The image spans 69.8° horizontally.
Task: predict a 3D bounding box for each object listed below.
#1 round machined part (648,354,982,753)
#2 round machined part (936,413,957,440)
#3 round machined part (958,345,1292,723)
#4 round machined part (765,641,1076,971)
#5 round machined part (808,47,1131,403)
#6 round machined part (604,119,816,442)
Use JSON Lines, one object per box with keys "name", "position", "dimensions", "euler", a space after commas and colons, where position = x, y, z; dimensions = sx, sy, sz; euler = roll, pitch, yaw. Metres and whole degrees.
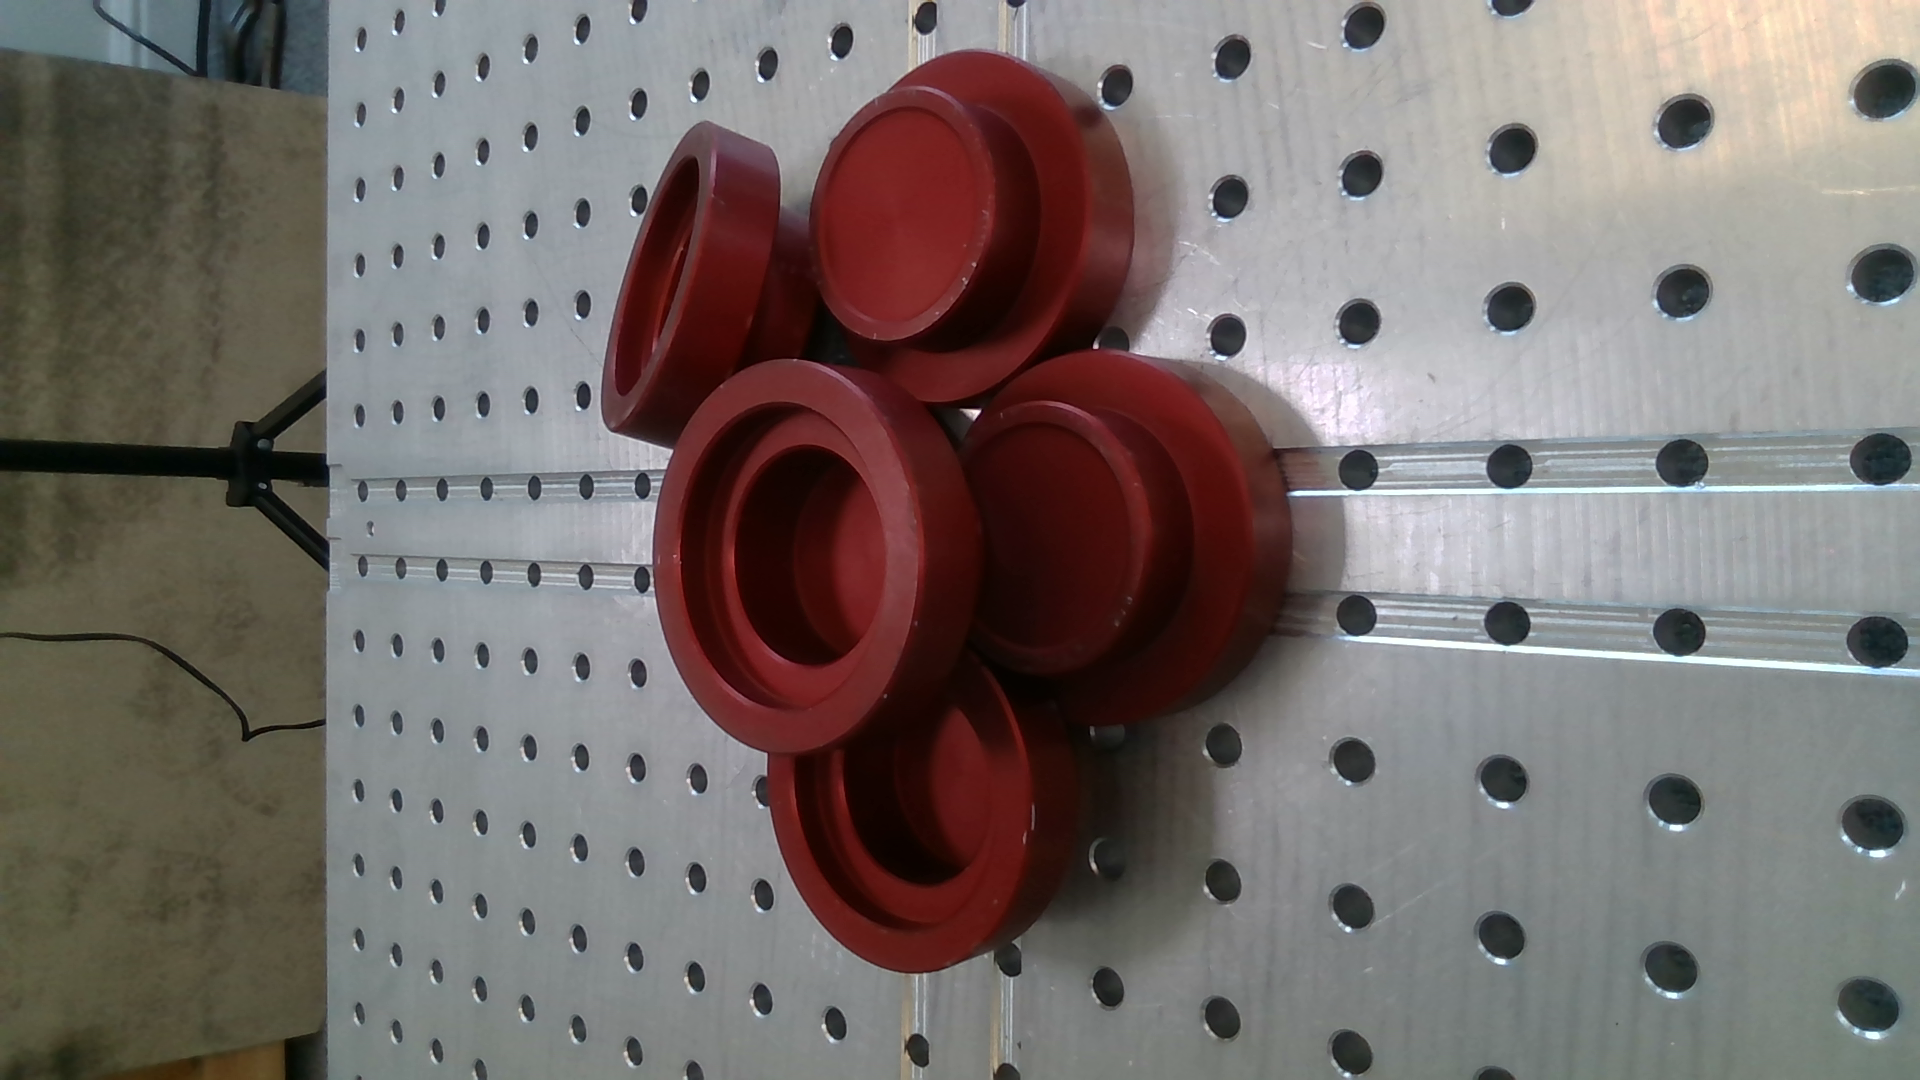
{"name": "round machined part", "position": [-0.033, 0.003, 0.354], "dimensions": [0.098, 0.042, 0.098], "euler": [0, 91, 40]}
{"name": "round machined part", "position": [-0.044, -0.001, 0.419], "dimensions": [0.098, 0.042, 0.098], "euler": [0, 91, 40]}
{"name": "round machined part", "position": [0.032, -0.002, 0.356], "dimensions": [0.098, 0.042, 0.098], "euler": [0, 91, 40]}
{"name": "round machined part", "position": [-0.007, 0.067, 0.388], "dimensions": [0.098, 0.042, 0.098], "euler": [0, 91, 40]}
{"name": "round machined part", "position": [-0.004, -0.088, 0.385], "dimensions": [0.098, 0.042, 0.098], "euler": [0, 91, 40]}
{"name": "round machined part", "position": [-0.076, -0.076, 0.428], "dimensions": [0.098, 0.042, 0.098], "euler": [-39, 43, 50]}
